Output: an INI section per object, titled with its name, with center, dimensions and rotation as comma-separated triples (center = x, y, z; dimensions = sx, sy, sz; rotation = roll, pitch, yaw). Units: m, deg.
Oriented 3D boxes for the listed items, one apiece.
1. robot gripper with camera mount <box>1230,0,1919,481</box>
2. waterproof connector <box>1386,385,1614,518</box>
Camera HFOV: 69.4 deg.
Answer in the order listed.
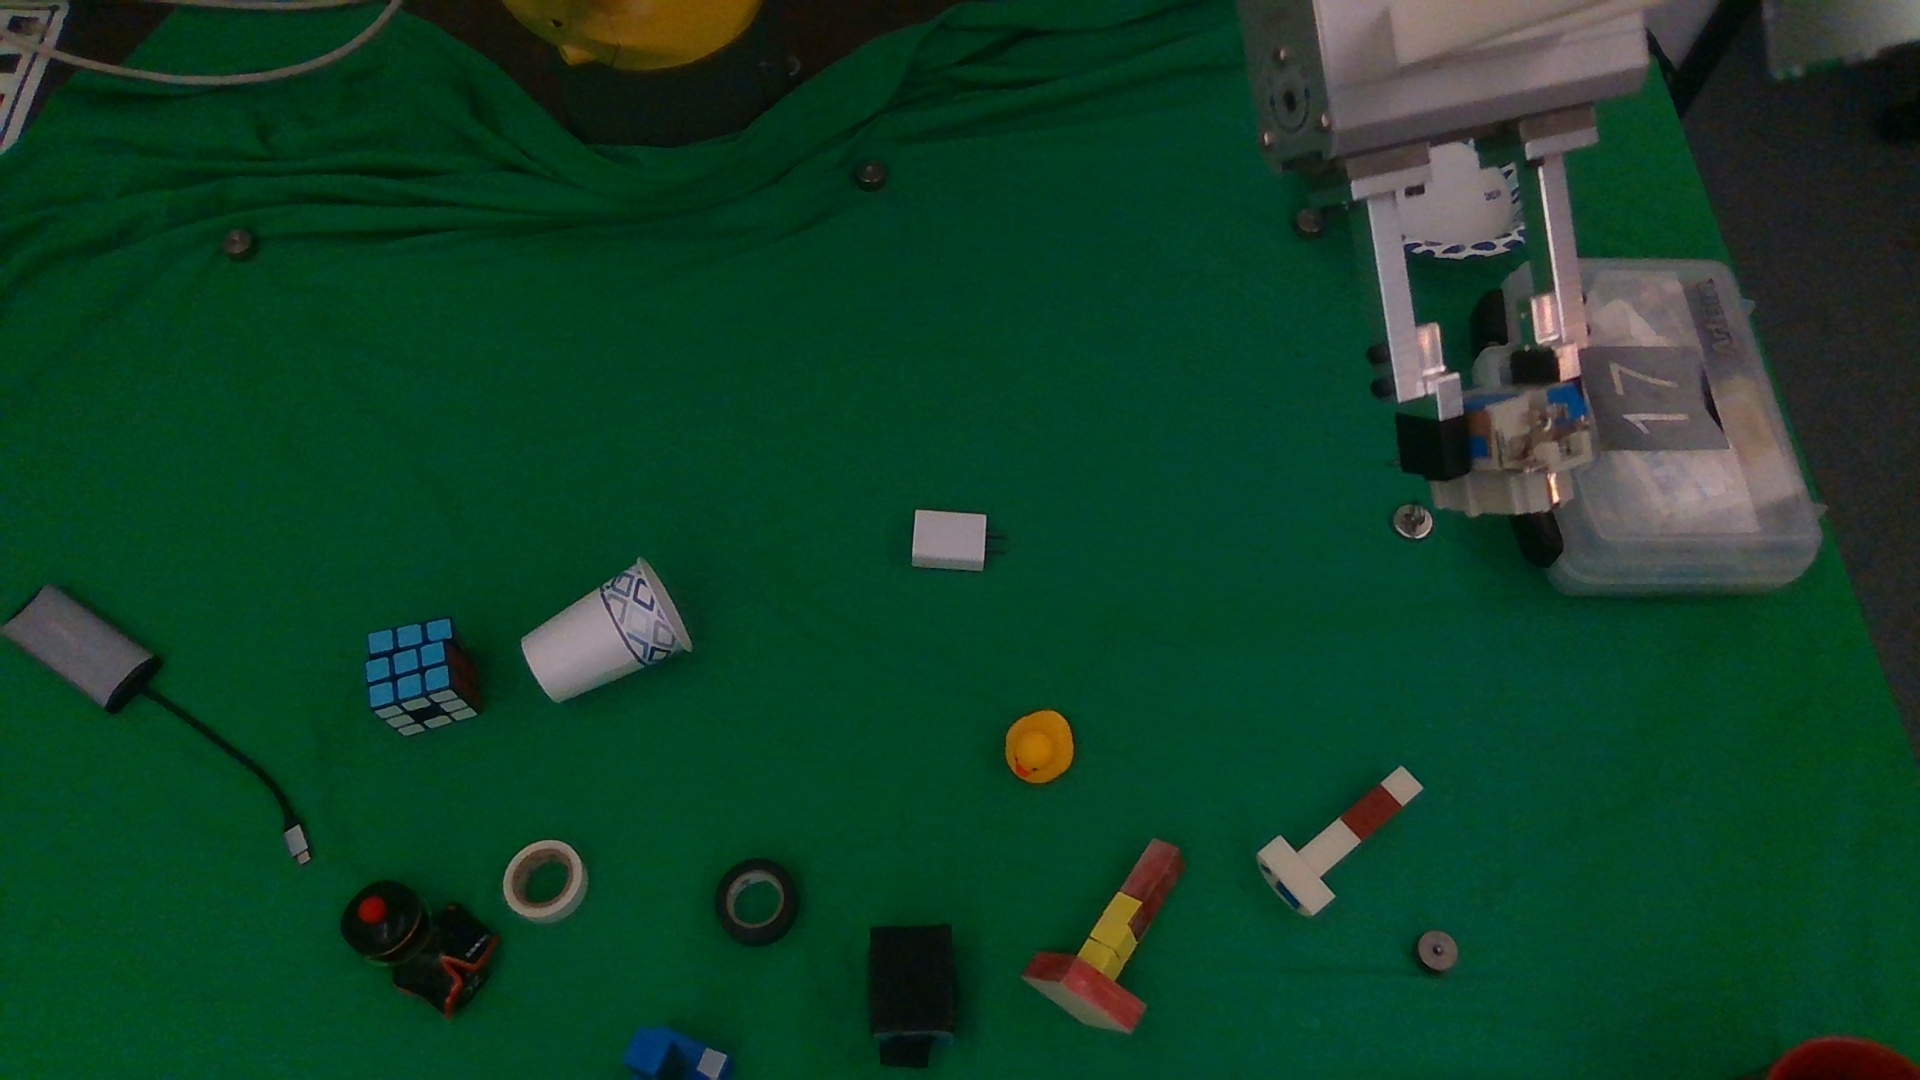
[robot gripper with camera mount]
center = 0.186, -0.097, 0.351
dimensions = 0.119, 0.194, 0.158
rotation = -17, 99, -20
[waterproof connector]
center = 0.168, -0.027, 0.438
dimensions = 0.035, 0.065, 0.037
rotation = -16, 99, -24
